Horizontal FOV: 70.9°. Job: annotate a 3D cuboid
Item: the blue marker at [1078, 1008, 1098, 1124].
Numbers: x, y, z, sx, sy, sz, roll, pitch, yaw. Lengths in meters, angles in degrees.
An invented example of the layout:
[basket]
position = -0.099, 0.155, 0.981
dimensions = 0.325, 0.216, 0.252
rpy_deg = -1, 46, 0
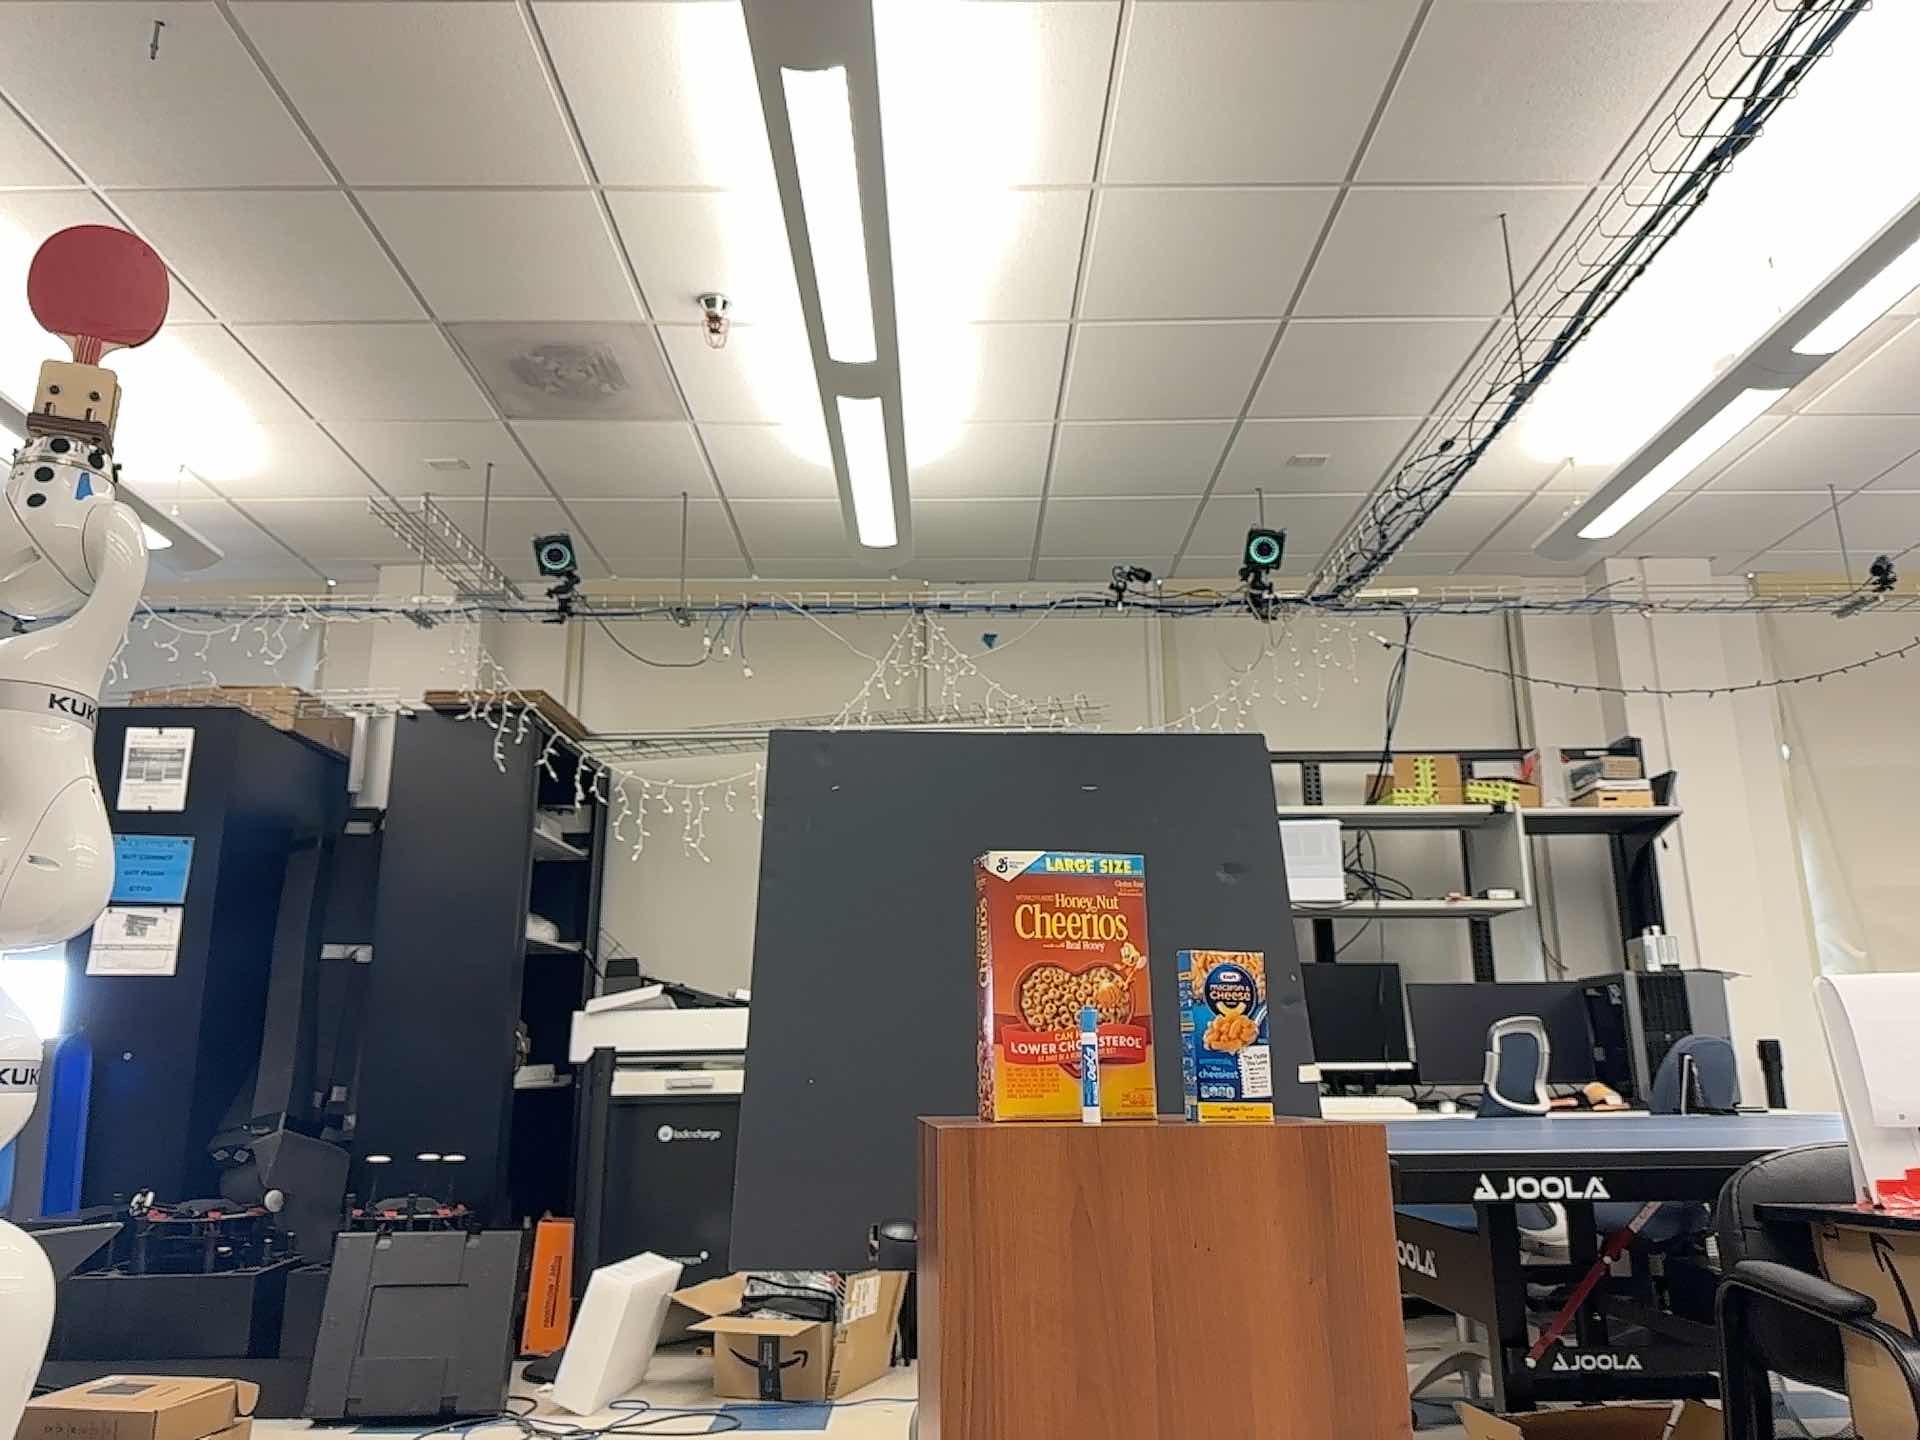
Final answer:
[blue marker]
position = 0.139, 0.375, 1.468
dimensions = 0.020, 0.121, 0.020
rpy_deg = 0, -13, 0

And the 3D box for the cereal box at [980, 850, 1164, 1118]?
[cereal box]
position = 0.129, 0.308, 1.587
dimensions = 0.195, 0.297, 0.065
rpy_deg = 4, -15, -12

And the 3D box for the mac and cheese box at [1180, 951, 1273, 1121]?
[mac and cheese box]
position = 0.299, 0.355, 1.521
dimensions = 0.088, 0.181, 0.035
rpy_deg = 2, -15, -6
